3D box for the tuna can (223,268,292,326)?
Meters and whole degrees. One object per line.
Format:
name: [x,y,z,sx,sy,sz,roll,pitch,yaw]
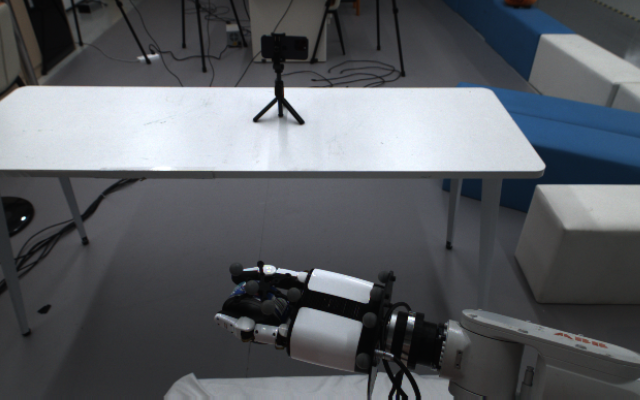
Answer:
tuna can: [-0.080,0.147,0.639,0.085,0.085,0.034,12,33,14]
